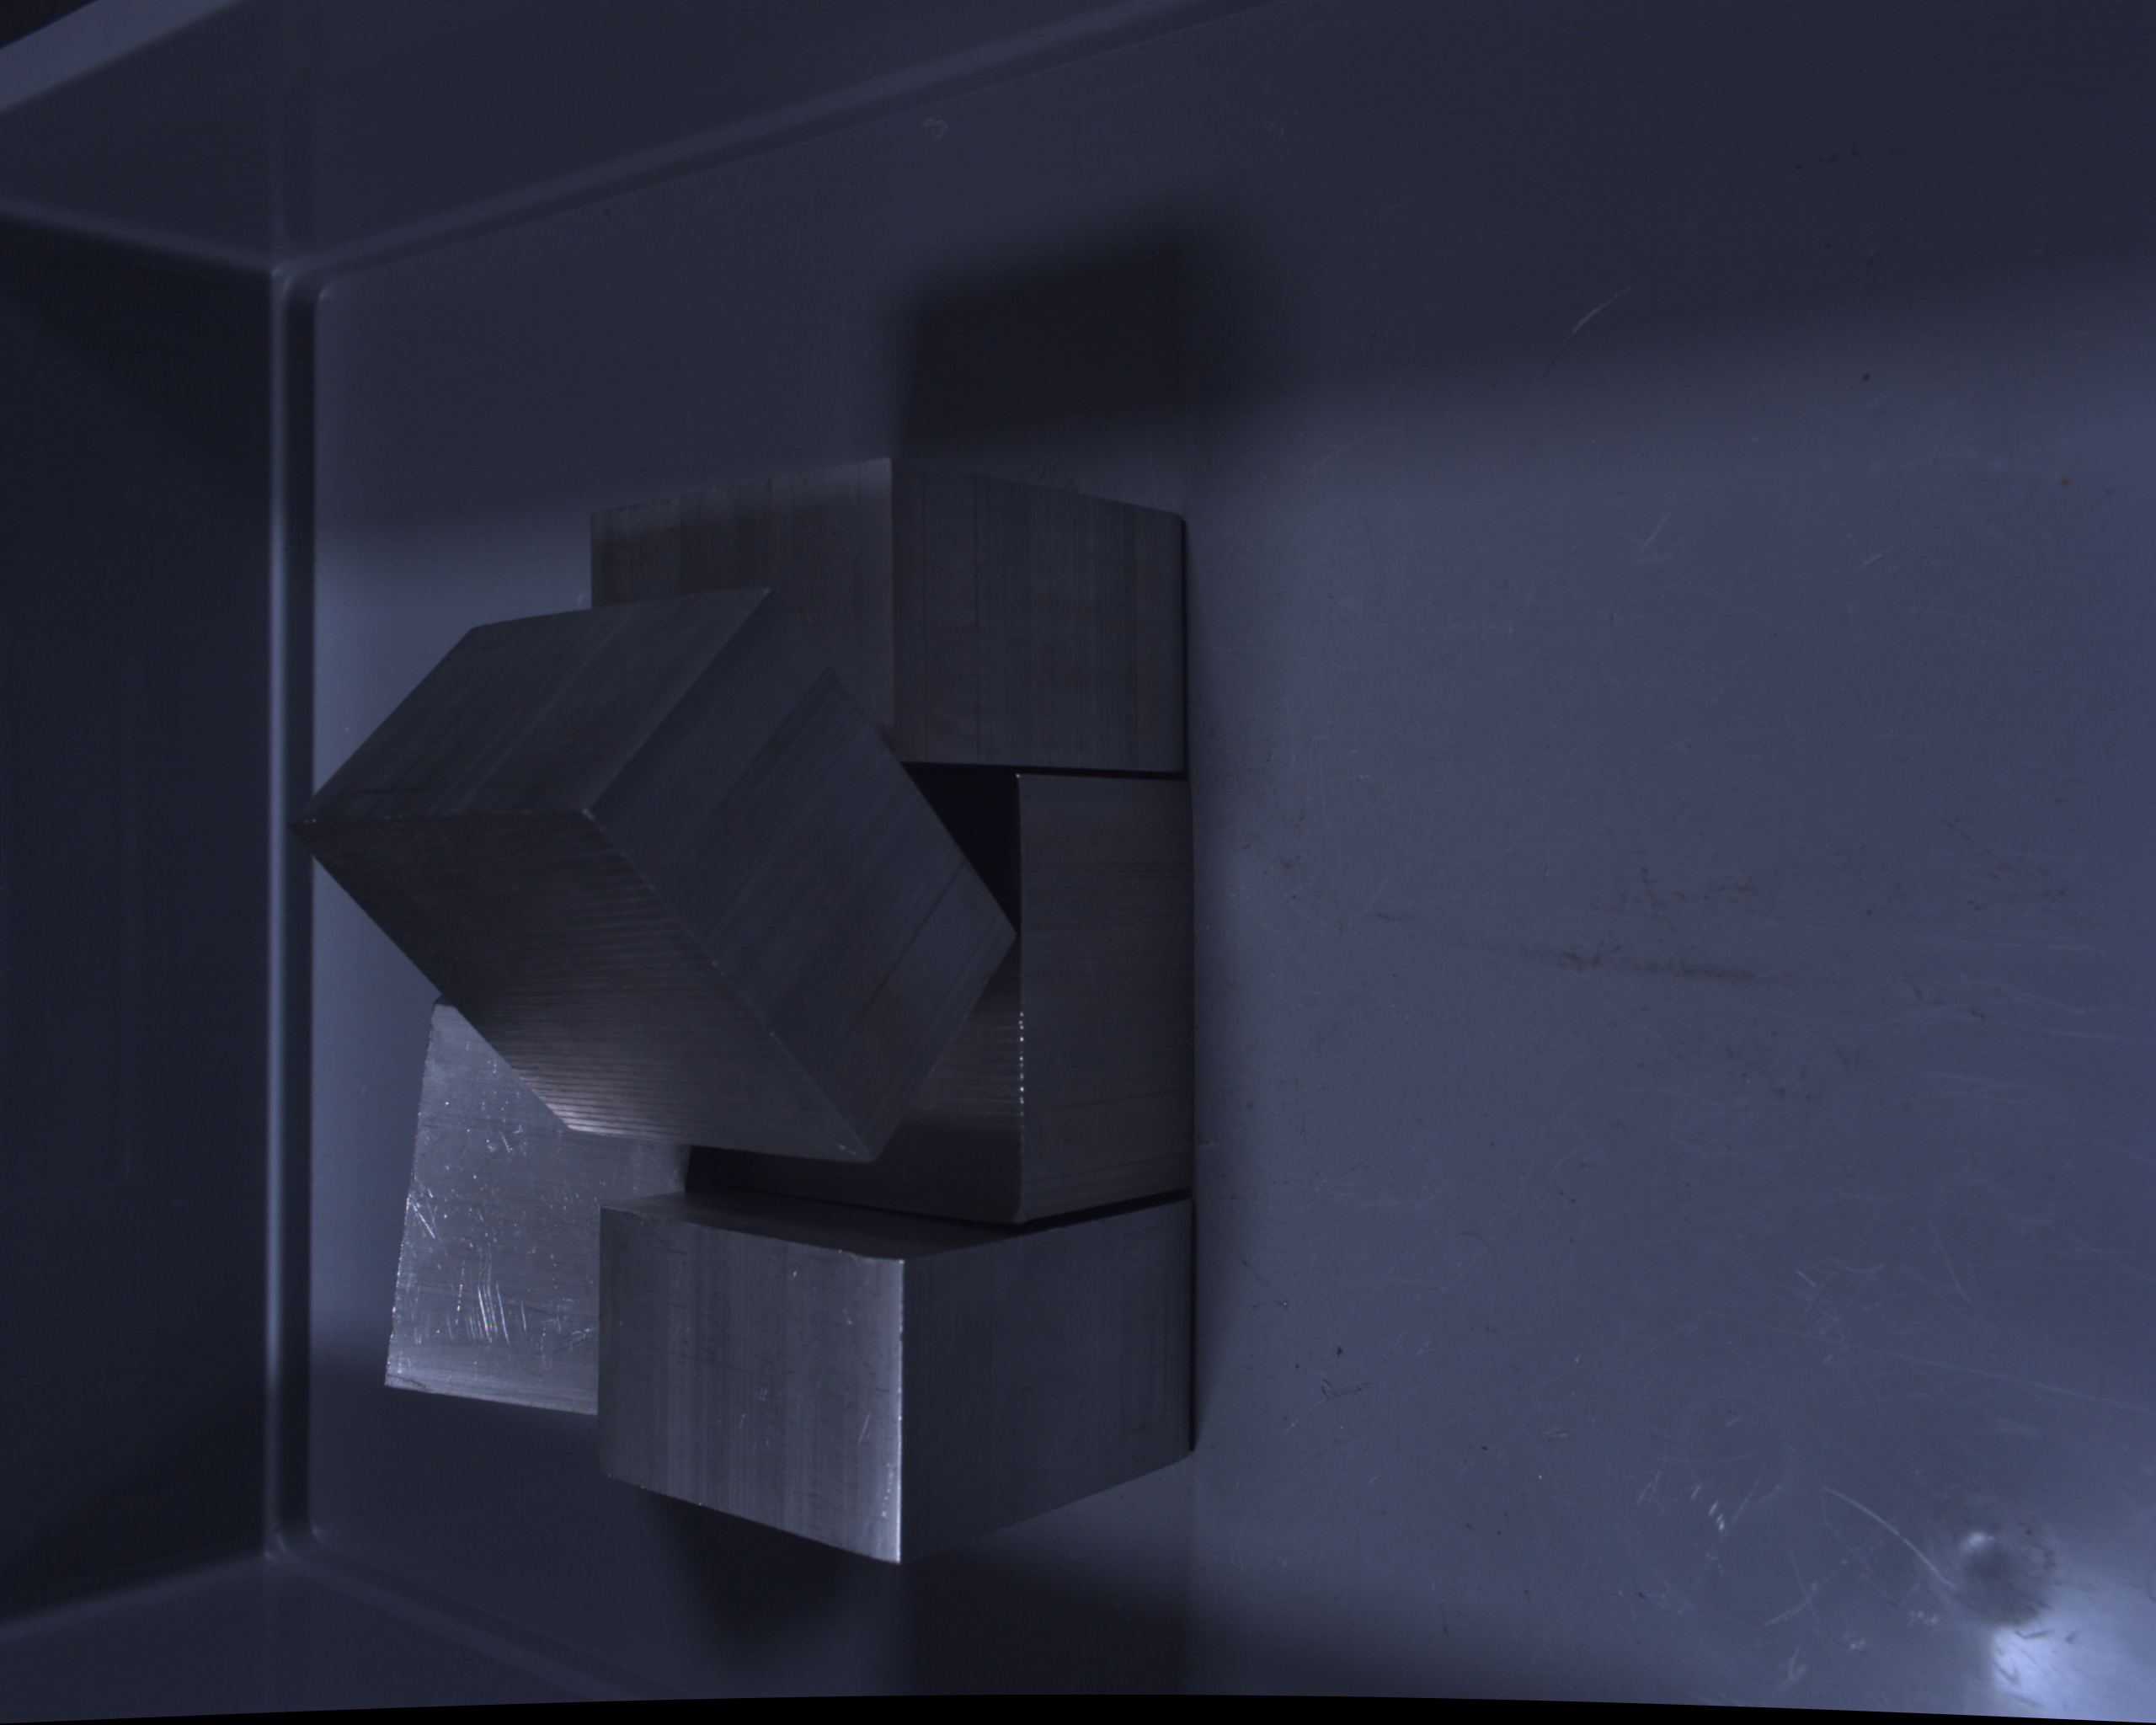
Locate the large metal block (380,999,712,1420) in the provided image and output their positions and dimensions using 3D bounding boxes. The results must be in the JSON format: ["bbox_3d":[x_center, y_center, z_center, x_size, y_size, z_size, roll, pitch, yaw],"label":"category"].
[{"bbox_3d":[-0.107,0.063,0.444,0.050,0.080,0.079,9,98,-4],"label":"large metal block"}]

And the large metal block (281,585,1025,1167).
[{"bbox_3d":[-0.070,0.004,0.351,0.080,0.080,0.050,-1,45,39],"label":"large metal block"}]

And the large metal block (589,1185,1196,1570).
[{"bbox_3d":[-0.034,0.089,0.394,0.080,0.081,0.050,1,91,39],"label":"large metal block"}]

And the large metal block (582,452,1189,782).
[{"bbox_3d":[-0.036,-0.042,0.395,0.080,0.081,0.050,-1,89,39],"label":"large metal block"}]

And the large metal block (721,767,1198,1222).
[{"bbox_3d":[-0.024,0.023,0.409,0.080,0.050,0.079,-1,90,39],"label":"large metal block"}]
